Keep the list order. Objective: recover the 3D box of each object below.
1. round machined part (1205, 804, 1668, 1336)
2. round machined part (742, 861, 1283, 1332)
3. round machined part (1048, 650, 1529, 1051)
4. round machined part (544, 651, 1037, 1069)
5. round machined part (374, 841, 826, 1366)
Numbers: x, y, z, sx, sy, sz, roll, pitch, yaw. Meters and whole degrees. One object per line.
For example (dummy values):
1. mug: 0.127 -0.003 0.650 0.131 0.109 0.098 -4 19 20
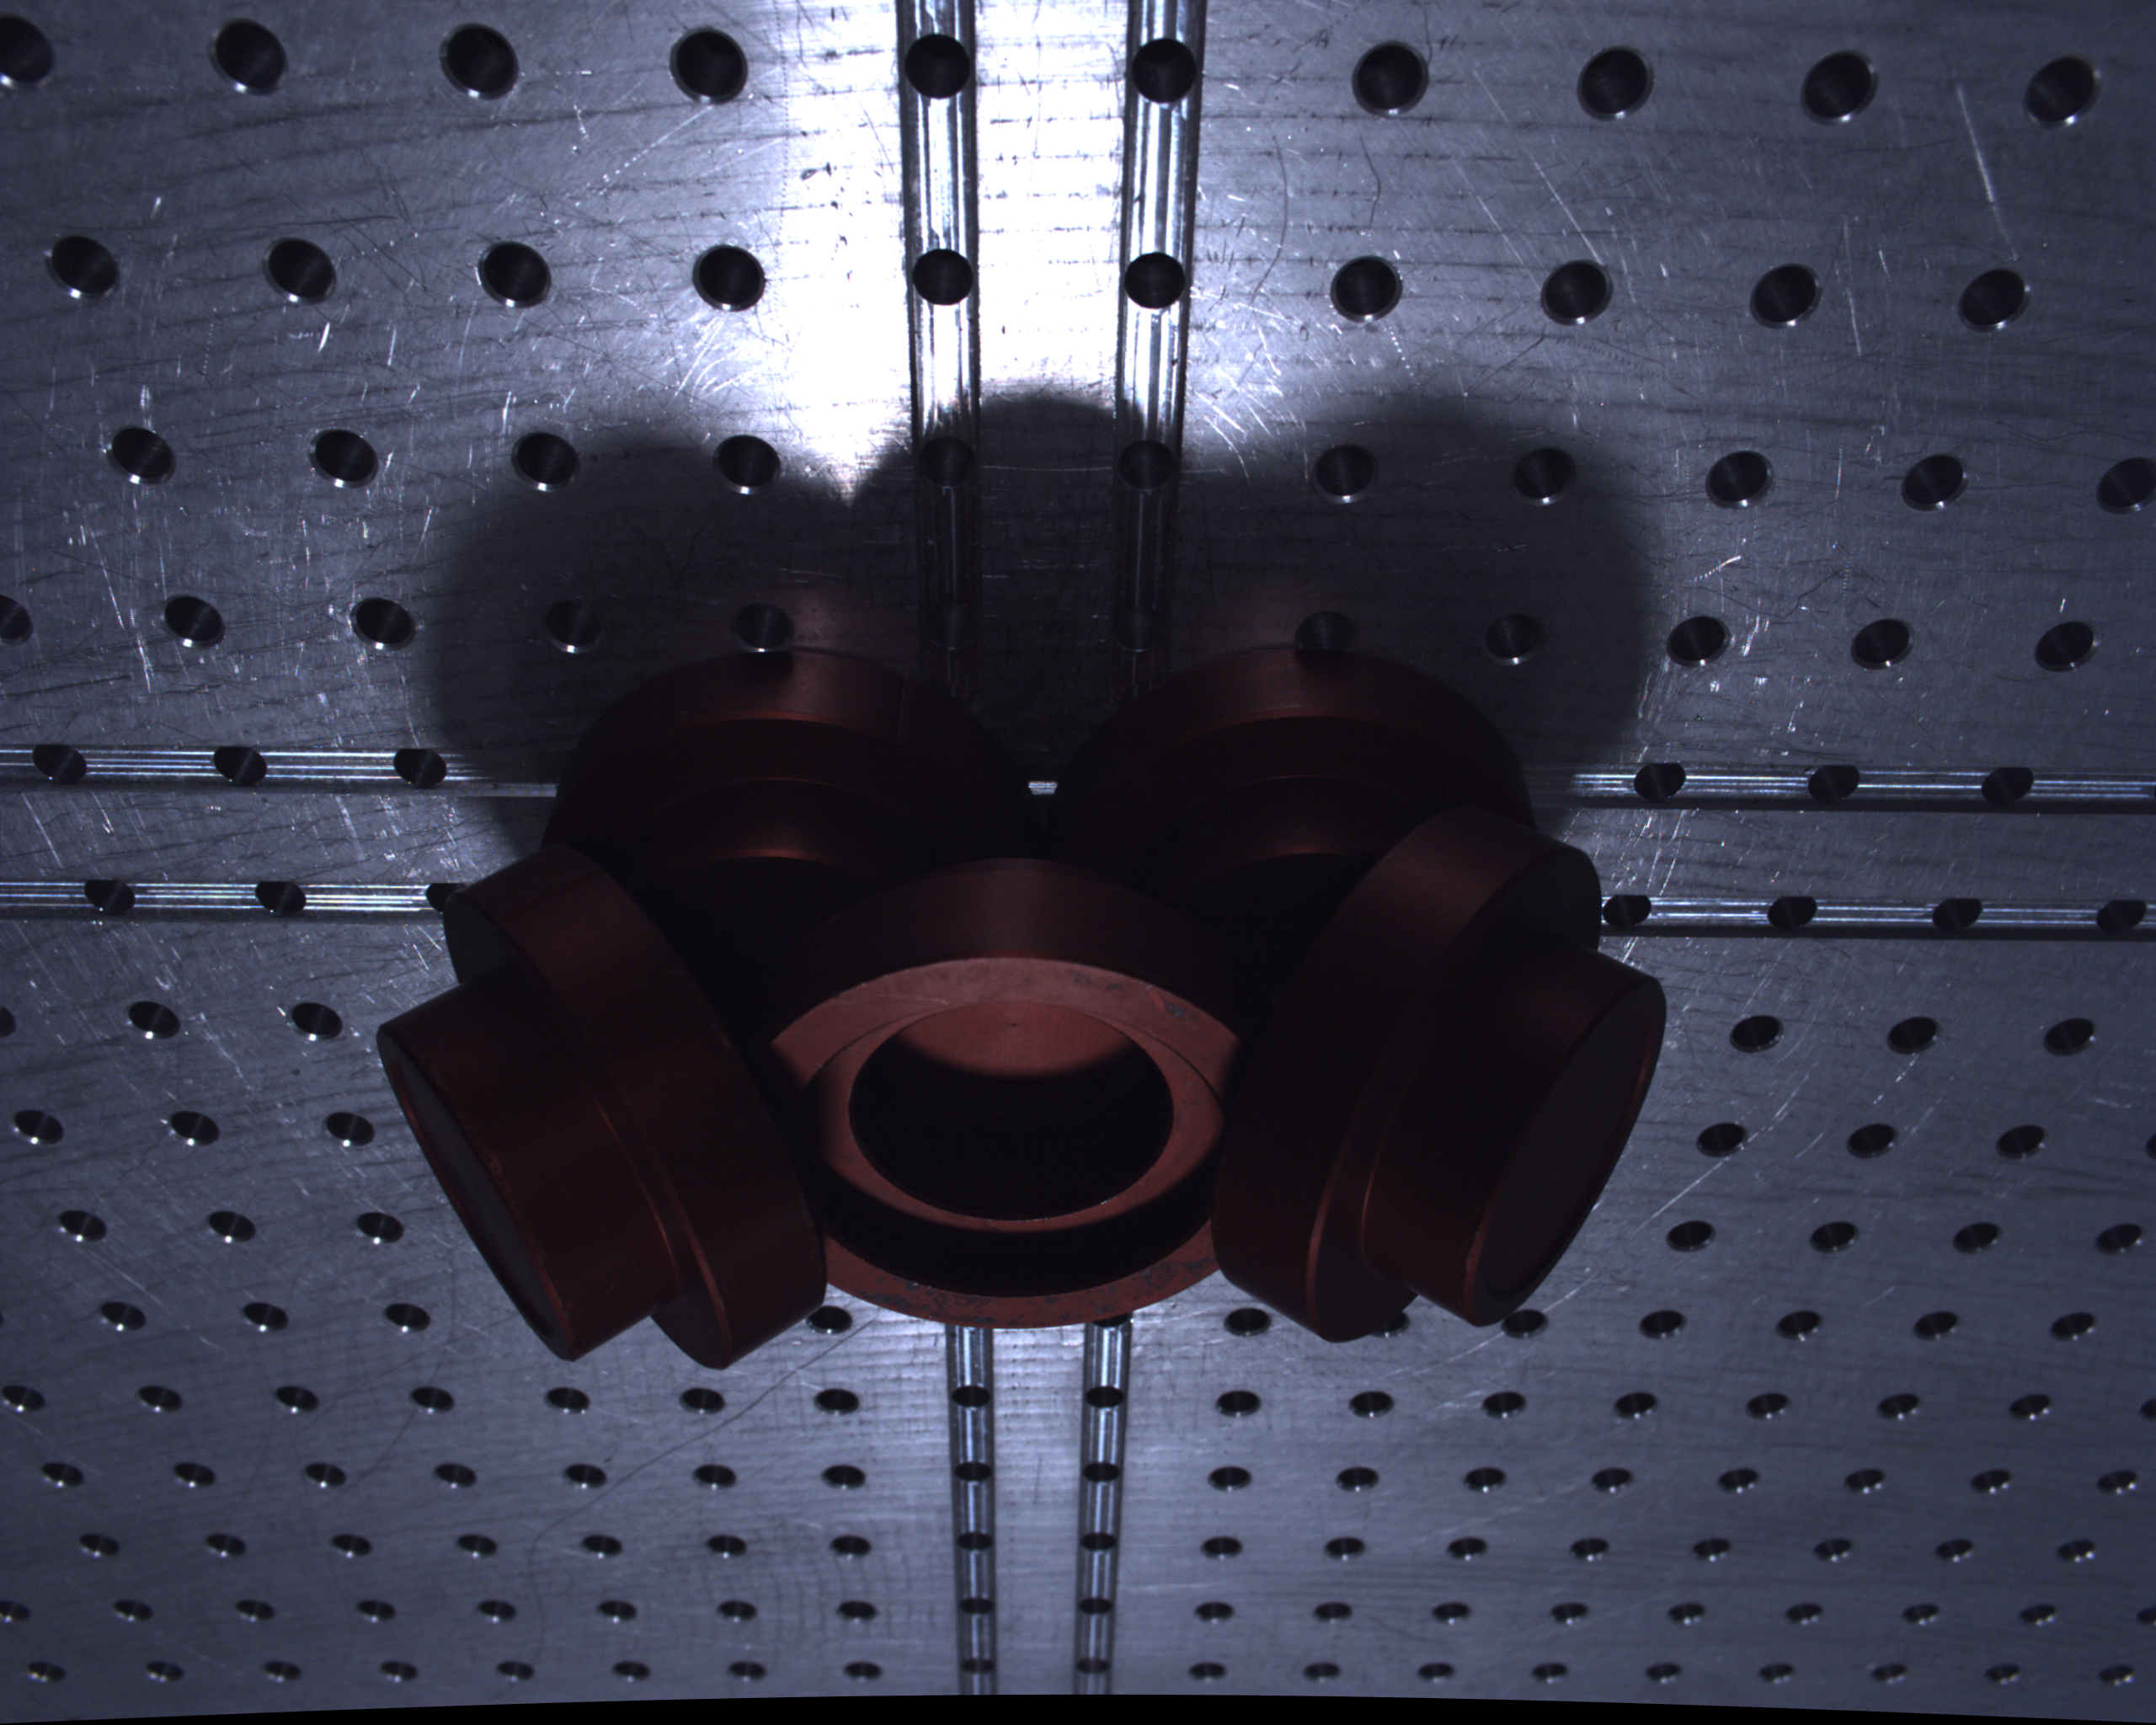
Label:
1. round machined part: 0.069 0.042 0.370 0.042 0.099 0.097 29 138 29
2. round machined part: -0.012 0.038 0.376 0.099 0.042 0.097 -1 130 0
3. round machined part: 0.042 0.010 0.409 0.099 0.042 0.097 -1 130 0
4. round machined part: -0.056 0.010 0.408 0.099 0.042 0.097 -1 130 0
5. round machined part: -0.090 0.049 0.374 0.042 0.098 0.097 -30 135 -25
